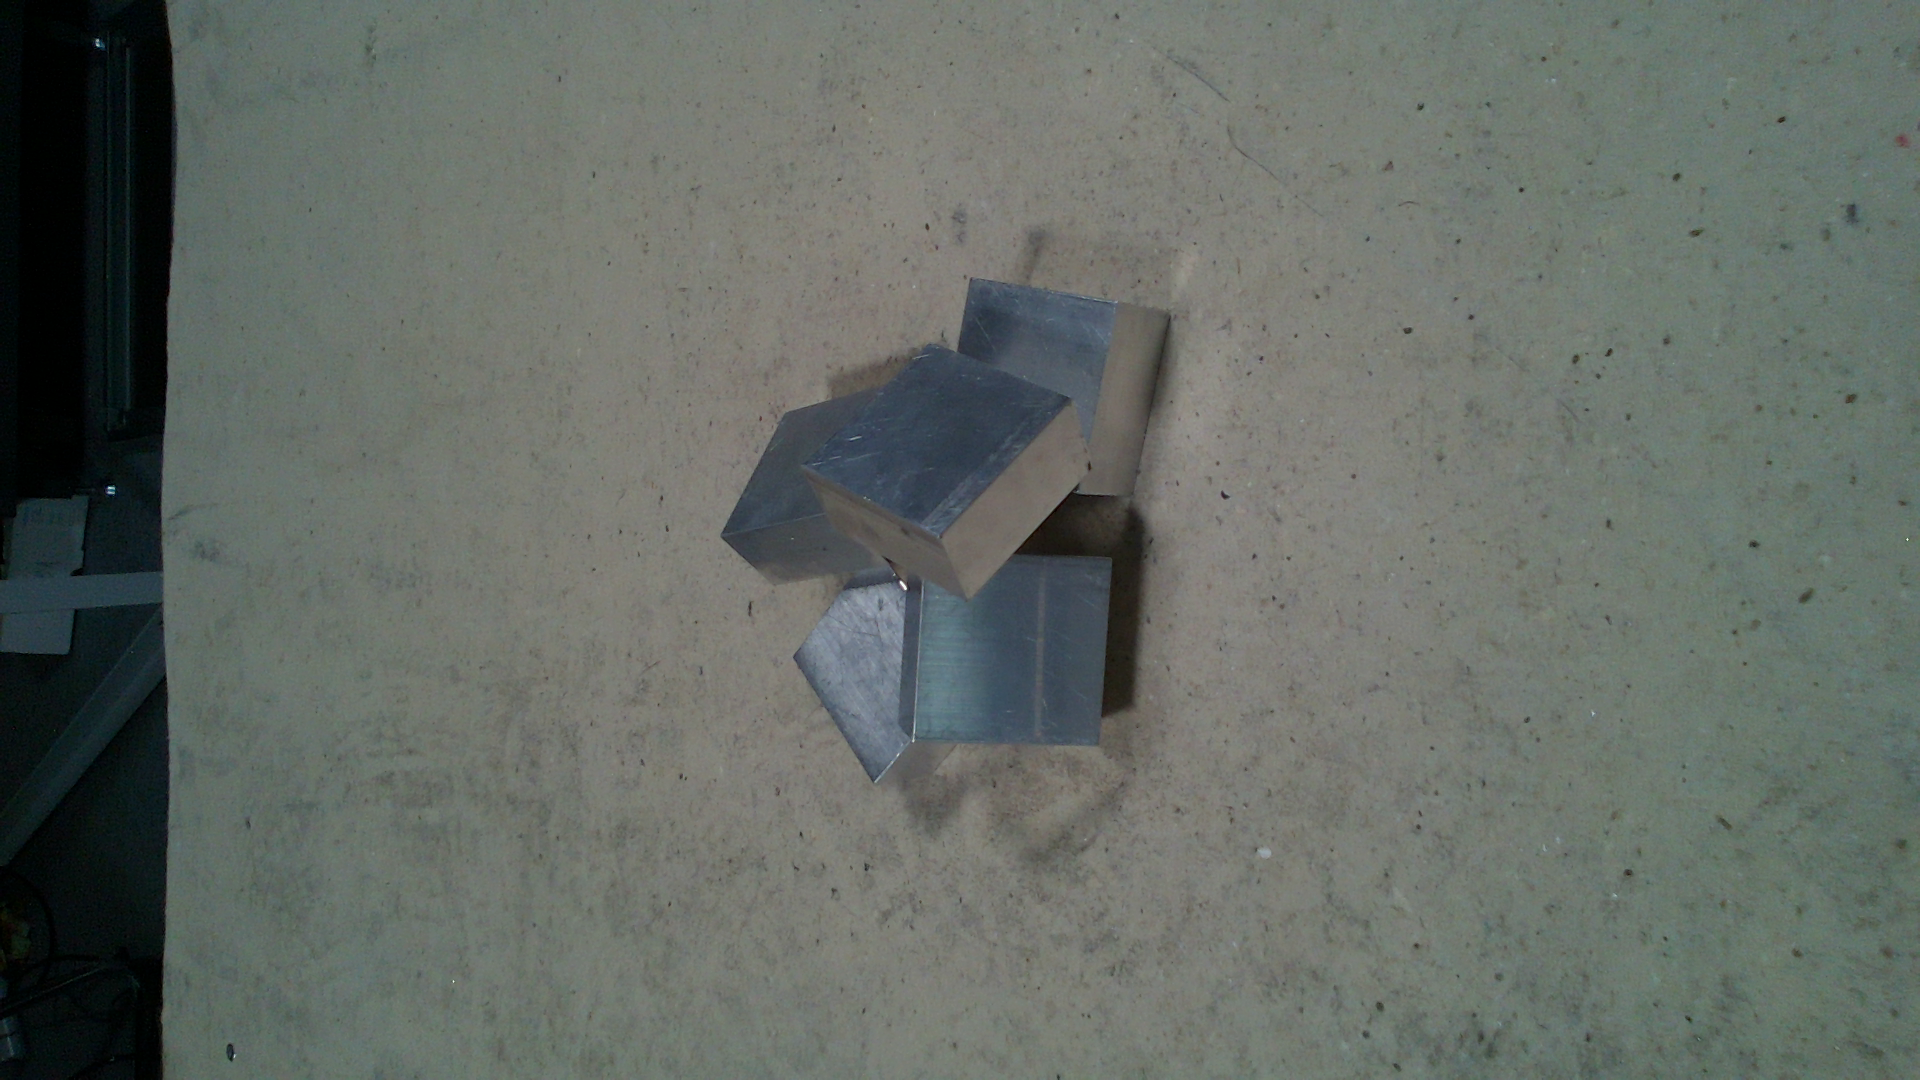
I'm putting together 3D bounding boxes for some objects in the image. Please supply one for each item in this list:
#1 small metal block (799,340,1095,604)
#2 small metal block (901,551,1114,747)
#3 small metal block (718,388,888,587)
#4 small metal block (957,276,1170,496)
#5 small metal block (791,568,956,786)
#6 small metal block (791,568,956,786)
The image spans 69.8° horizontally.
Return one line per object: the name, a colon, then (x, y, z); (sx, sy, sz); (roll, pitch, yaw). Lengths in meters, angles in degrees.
small metal block: (-0.003, -0.019, 0.347); (0.050, 0.025, 0.050); (27, 64, 37)
small metal block: (0.012, 0.027, 0.366); (0.025, 0.050, 0.050); (-164, 77, -78)
small metal block: (-0.038, -0.016, 0.410); (0.050, 0.025, 0.050); (-10, 46, 39)
small metal block: (0.025, -0.042, 0.374); (0.050, 0.025, 0.050); (18, 101, 39)
small metal block: (-0.017, 0.036, 0.410); (0.050, 0.025, 0.050); (-53, 59, 27)
small metal block: (-0.017, 0.036, 0.410); (0.050, 0.025, 0.050); (53, 121, 27)
